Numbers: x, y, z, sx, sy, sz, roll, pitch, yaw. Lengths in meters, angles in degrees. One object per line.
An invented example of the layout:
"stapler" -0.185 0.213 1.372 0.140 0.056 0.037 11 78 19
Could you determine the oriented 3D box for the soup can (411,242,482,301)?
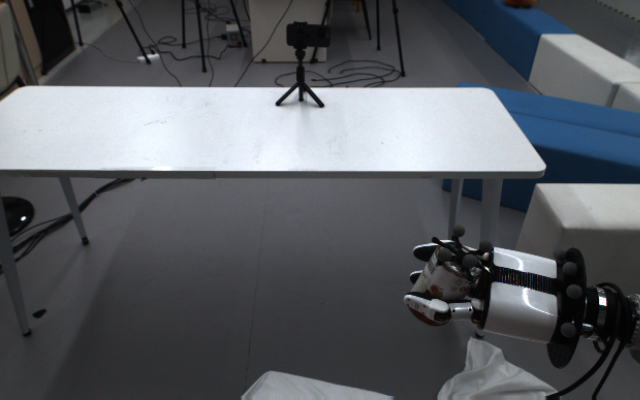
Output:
"soup can" 0.172 0.115 0.670 0.067 0.101 0.067 14 35 -10
